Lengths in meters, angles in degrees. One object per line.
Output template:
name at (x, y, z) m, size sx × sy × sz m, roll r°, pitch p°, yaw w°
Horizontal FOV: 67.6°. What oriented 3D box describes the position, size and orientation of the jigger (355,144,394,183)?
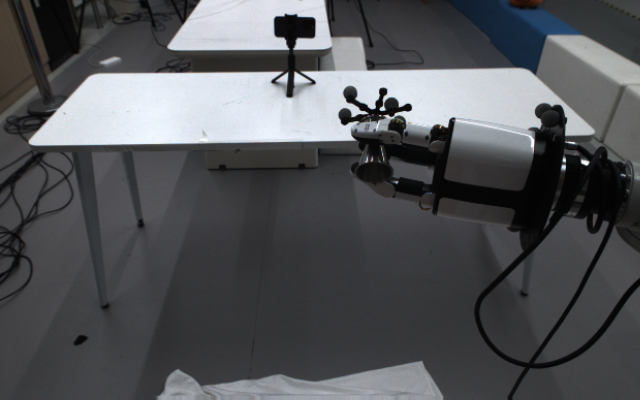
jigger at (0.063, -0.062, 0.560) m, size 0.043 × 0.043 × 0.071 m, roll 4°, pitch 61°, yaw 3°
